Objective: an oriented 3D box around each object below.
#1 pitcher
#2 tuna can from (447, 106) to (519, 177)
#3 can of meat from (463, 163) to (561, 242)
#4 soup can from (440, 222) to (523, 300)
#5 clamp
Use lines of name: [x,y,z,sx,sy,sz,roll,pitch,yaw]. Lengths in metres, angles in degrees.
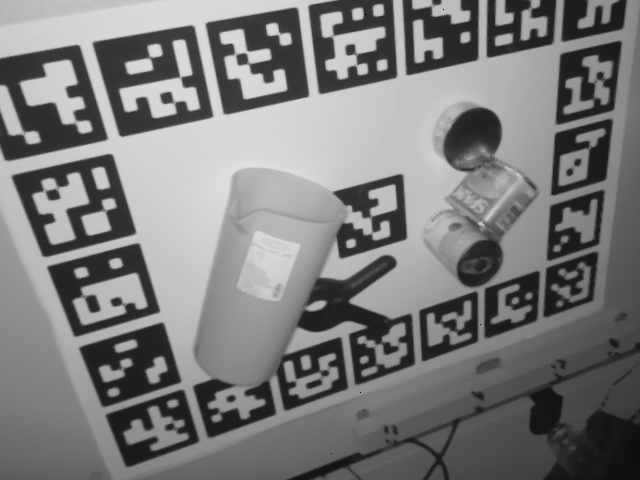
pitcher: [-0.045,0.064,0.811,0.192,0.132,0.240,-9,127,-41]
tuna can: [0.205,-0.125,0.875,0.086,0.033,0.085,-8,116,-17]
can of meat: [0.246,-0.045,0.887,0.058,0.101,0.083,39,94,-30]
soup can: [0.211,0.025,0.913,0.069,0.101,0.067,-9,116,-18]
clamp: [0.059,0.101,0.941,0.166,0.036,0.121,-13,123,-11]
